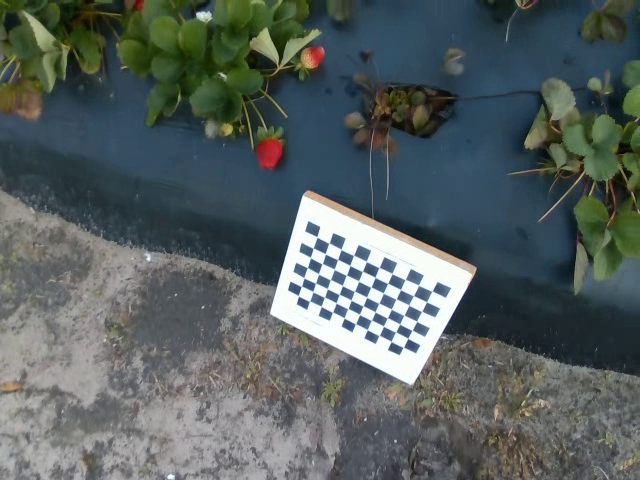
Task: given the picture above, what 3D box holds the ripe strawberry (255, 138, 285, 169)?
[{"bbox_3d":[-0.078,-0.129,0.879,0.045,0.055,0.042,-20,-43,37],"label":"ripe strawberry"}]
